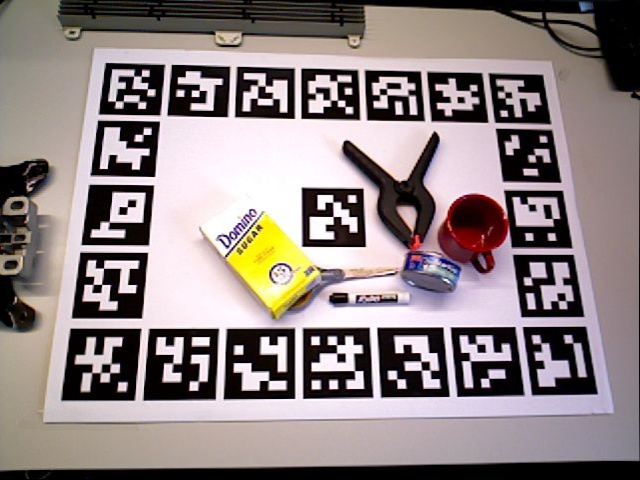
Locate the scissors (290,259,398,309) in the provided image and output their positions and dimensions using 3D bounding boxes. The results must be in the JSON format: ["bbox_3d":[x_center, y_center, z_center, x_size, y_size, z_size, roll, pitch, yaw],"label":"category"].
[{"bbox_3d":[0.020,0.048,0.817,0.201,0.016,0.087,-10,70,-8],"label":"scissors"}]

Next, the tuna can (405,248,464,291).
[{"bbox_3d":[0.169,0.045,0.795,0.085,0.087,0.033,16,71,1],"label":"tuna can"}]

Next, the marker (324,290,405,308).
[{"bbox_3d":[0.066,0.088,0.810,0.120,0.020,0.019,-4,73,-4],"label":"marker"}]

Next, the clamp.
[{"bbox_3d":[0.131,-0.081,0.868,0.164,0.037,0.202,-10,75,-7],"label":"clamp"}]

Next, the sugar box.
[{"bbox_3d":[-0.085,0.021,0.802,0.092,0.046,0.176,-36,73,-14],"label":"sugar box"}]

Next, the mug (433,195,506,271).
[{"bbox_3d":[0.226,-0.004,0.819,0.092,0.083,0.117,-27,73,-12],"label":"mug"}]
